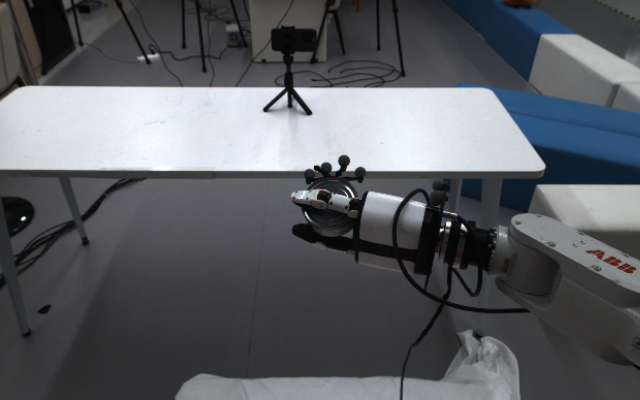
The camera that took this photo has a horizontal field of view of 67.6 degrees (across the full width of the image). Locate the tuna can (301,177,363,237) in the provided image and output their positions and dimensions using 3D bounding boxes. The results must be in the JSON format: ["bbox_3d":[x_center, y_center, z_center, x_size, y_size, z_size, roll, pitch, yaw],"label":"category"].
[{"bbox_3d":[0.017,0.011,0.715,0.085,0.034,0.085,-6,61,10],"label":"tuna can"}]
